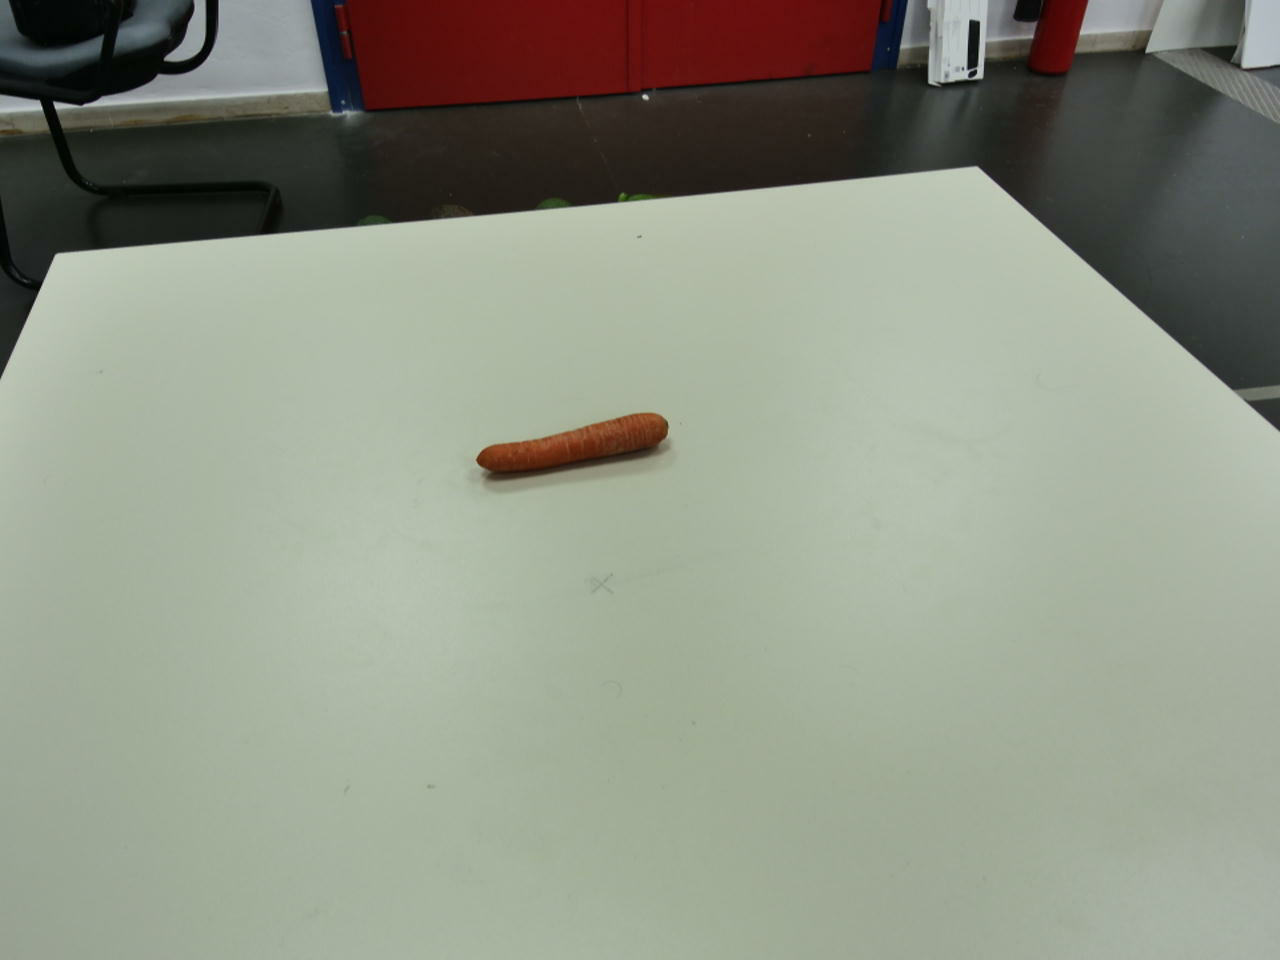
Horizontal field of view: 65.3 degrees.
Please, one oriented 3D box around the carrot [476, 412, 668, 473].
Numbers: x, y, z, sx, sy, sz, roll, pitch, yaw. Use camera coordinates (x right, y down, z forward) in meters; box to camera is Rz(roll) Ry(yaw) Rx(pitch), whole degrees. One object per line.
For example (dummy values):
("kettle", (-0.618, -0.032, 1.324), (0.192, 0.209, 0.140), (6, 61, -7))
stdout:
("carrot", (-0.041, -0.023, 0.623), (0.122, 0.023, 0.024), (-10, 40, -12))
